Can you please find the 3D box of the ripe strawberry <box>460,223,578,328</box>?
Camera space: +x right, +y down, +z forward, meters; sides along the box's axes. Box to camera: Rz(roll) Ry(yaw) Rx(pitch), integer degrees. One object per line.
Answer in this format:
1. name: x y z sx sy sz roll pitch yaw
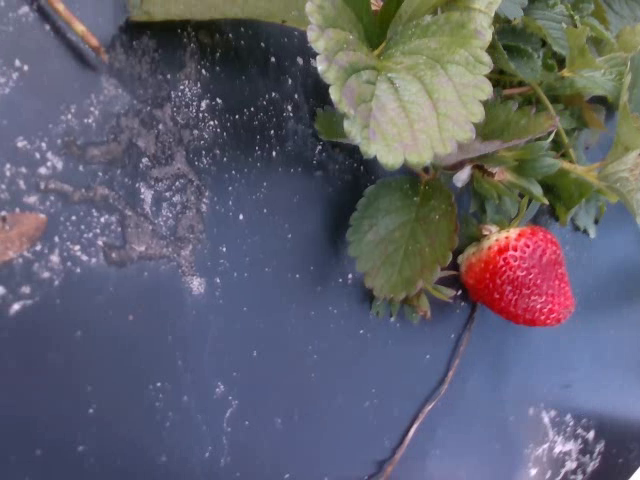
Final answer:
1. ripe strawberry: 0.092 0.021 0.265 0.050 0.053 0.049 16 -52 -37
